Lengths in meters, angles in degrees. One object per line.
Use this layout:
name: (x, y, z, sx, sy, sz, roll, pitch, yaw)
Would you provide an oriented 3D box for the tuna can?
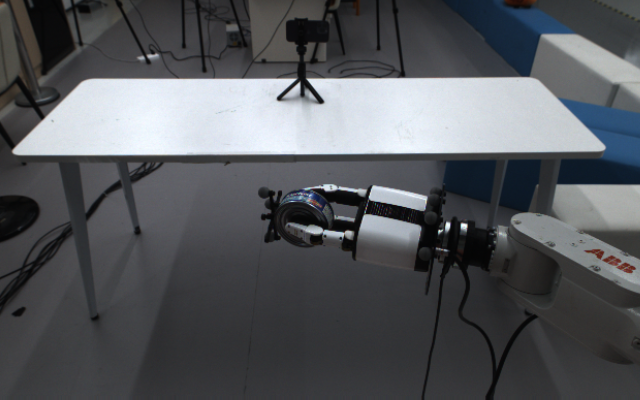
tuna can: (-0.022, 0.026, 0.719, 0.085, 0.085, 0.034, 9, 33, 10)
